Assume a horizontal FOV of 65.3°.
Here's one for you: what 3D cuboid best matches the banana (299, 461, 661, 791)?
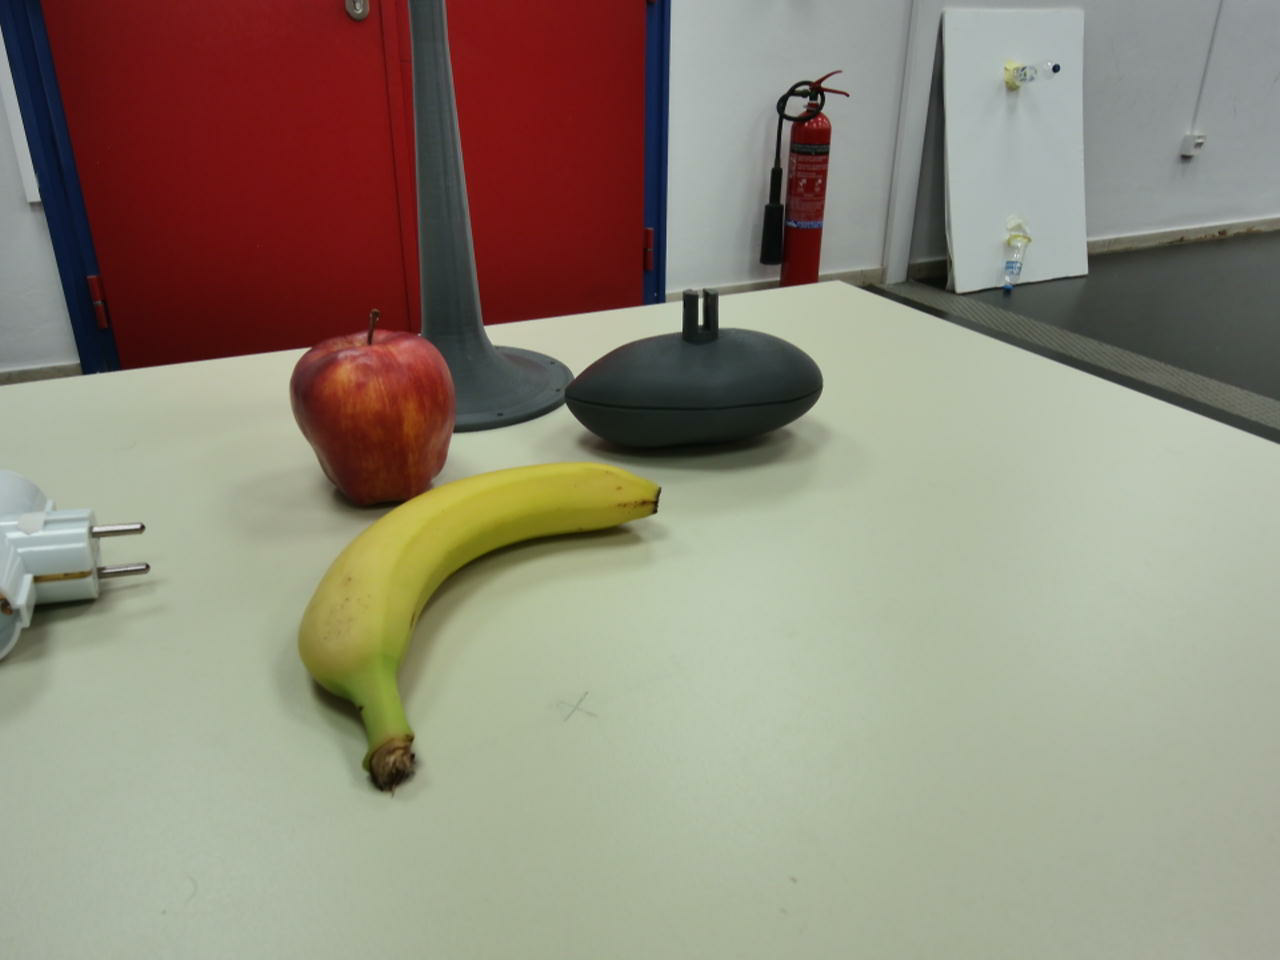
[{"bbox_3d":[-0.072,0.035,0.400,0.094,0.041,0.196,12,26,25],"label":"banana"}]
